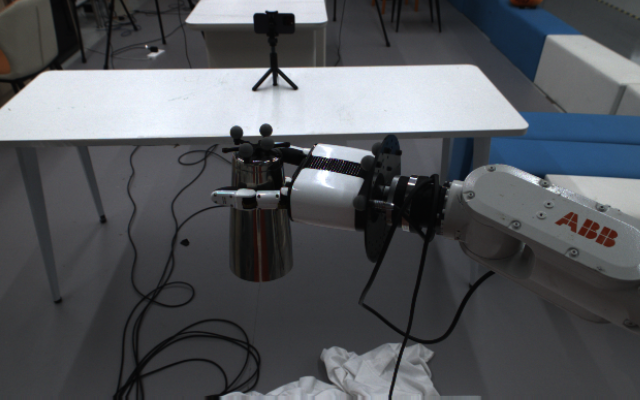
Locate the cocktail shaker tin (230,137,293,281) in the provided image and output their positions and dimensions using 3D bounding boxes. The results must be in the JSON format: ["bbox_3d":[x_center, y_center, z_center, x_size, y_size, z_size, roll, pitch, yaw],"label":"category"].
[{"bbox_3d":[-0.081,0.013,0.665,0.093,0.170,0.093,1,27,-1],"label":"cocktail shaker tin"}]
